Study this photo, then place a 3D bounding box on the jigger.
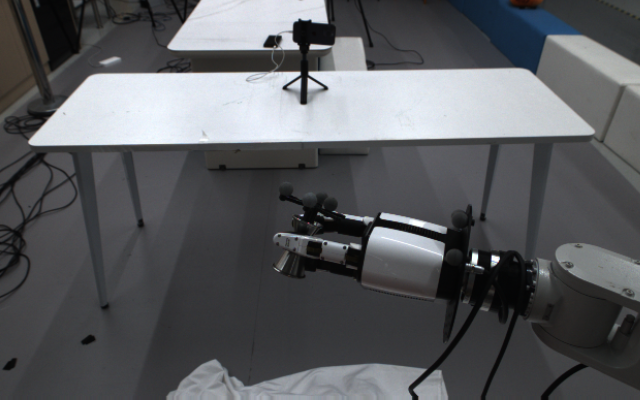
[{"bbox_3d":[-0.027,0.055,0.586,0.043,0.071,0.043,22,5,-2],"label":"jigger"}]
